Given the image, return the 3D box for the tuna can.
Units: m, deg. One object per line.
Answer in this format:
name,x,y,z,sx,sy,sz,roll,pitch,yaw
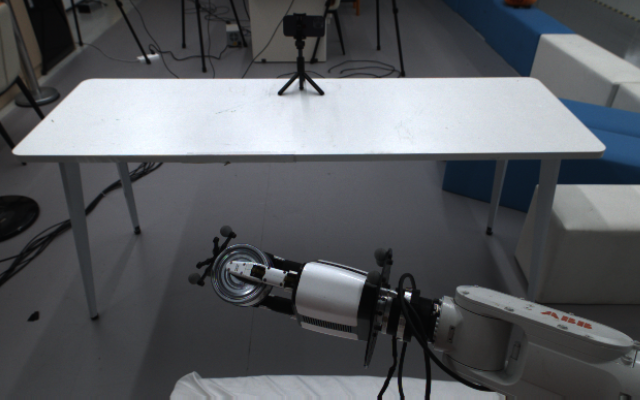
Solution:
tuna can,-0.105,0.109,0.675,0.085,0.034,0.085,-2,72,6
